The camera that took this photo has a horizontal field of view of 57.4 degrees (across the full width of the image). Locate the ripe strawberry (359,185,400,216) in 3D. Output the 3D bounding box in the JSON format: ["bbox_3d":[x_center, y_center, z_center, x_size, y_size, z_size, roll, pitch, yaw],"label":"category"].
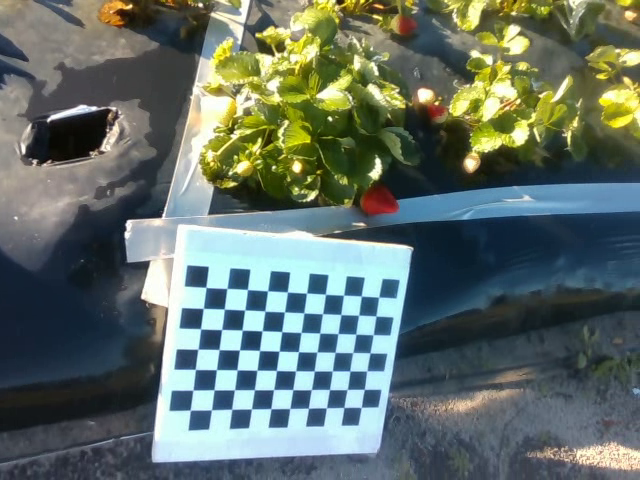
[{"bbox_3d":[0.077,-0.048,0.734,0.064,0.045,0.049,33,2,41],"label":"ripe strawberry"}]
